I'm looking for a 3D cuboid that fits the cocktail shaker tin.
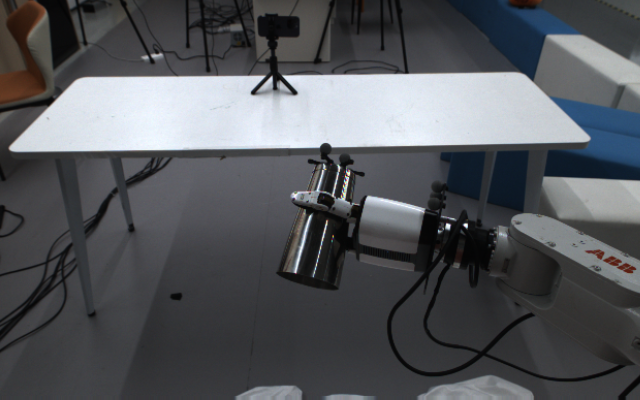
[{"bbox_3d":[0.003,0.037,0.705,0.093,0.093,0.170,10,71,12],"label":"cocktail shaker tin"}]
